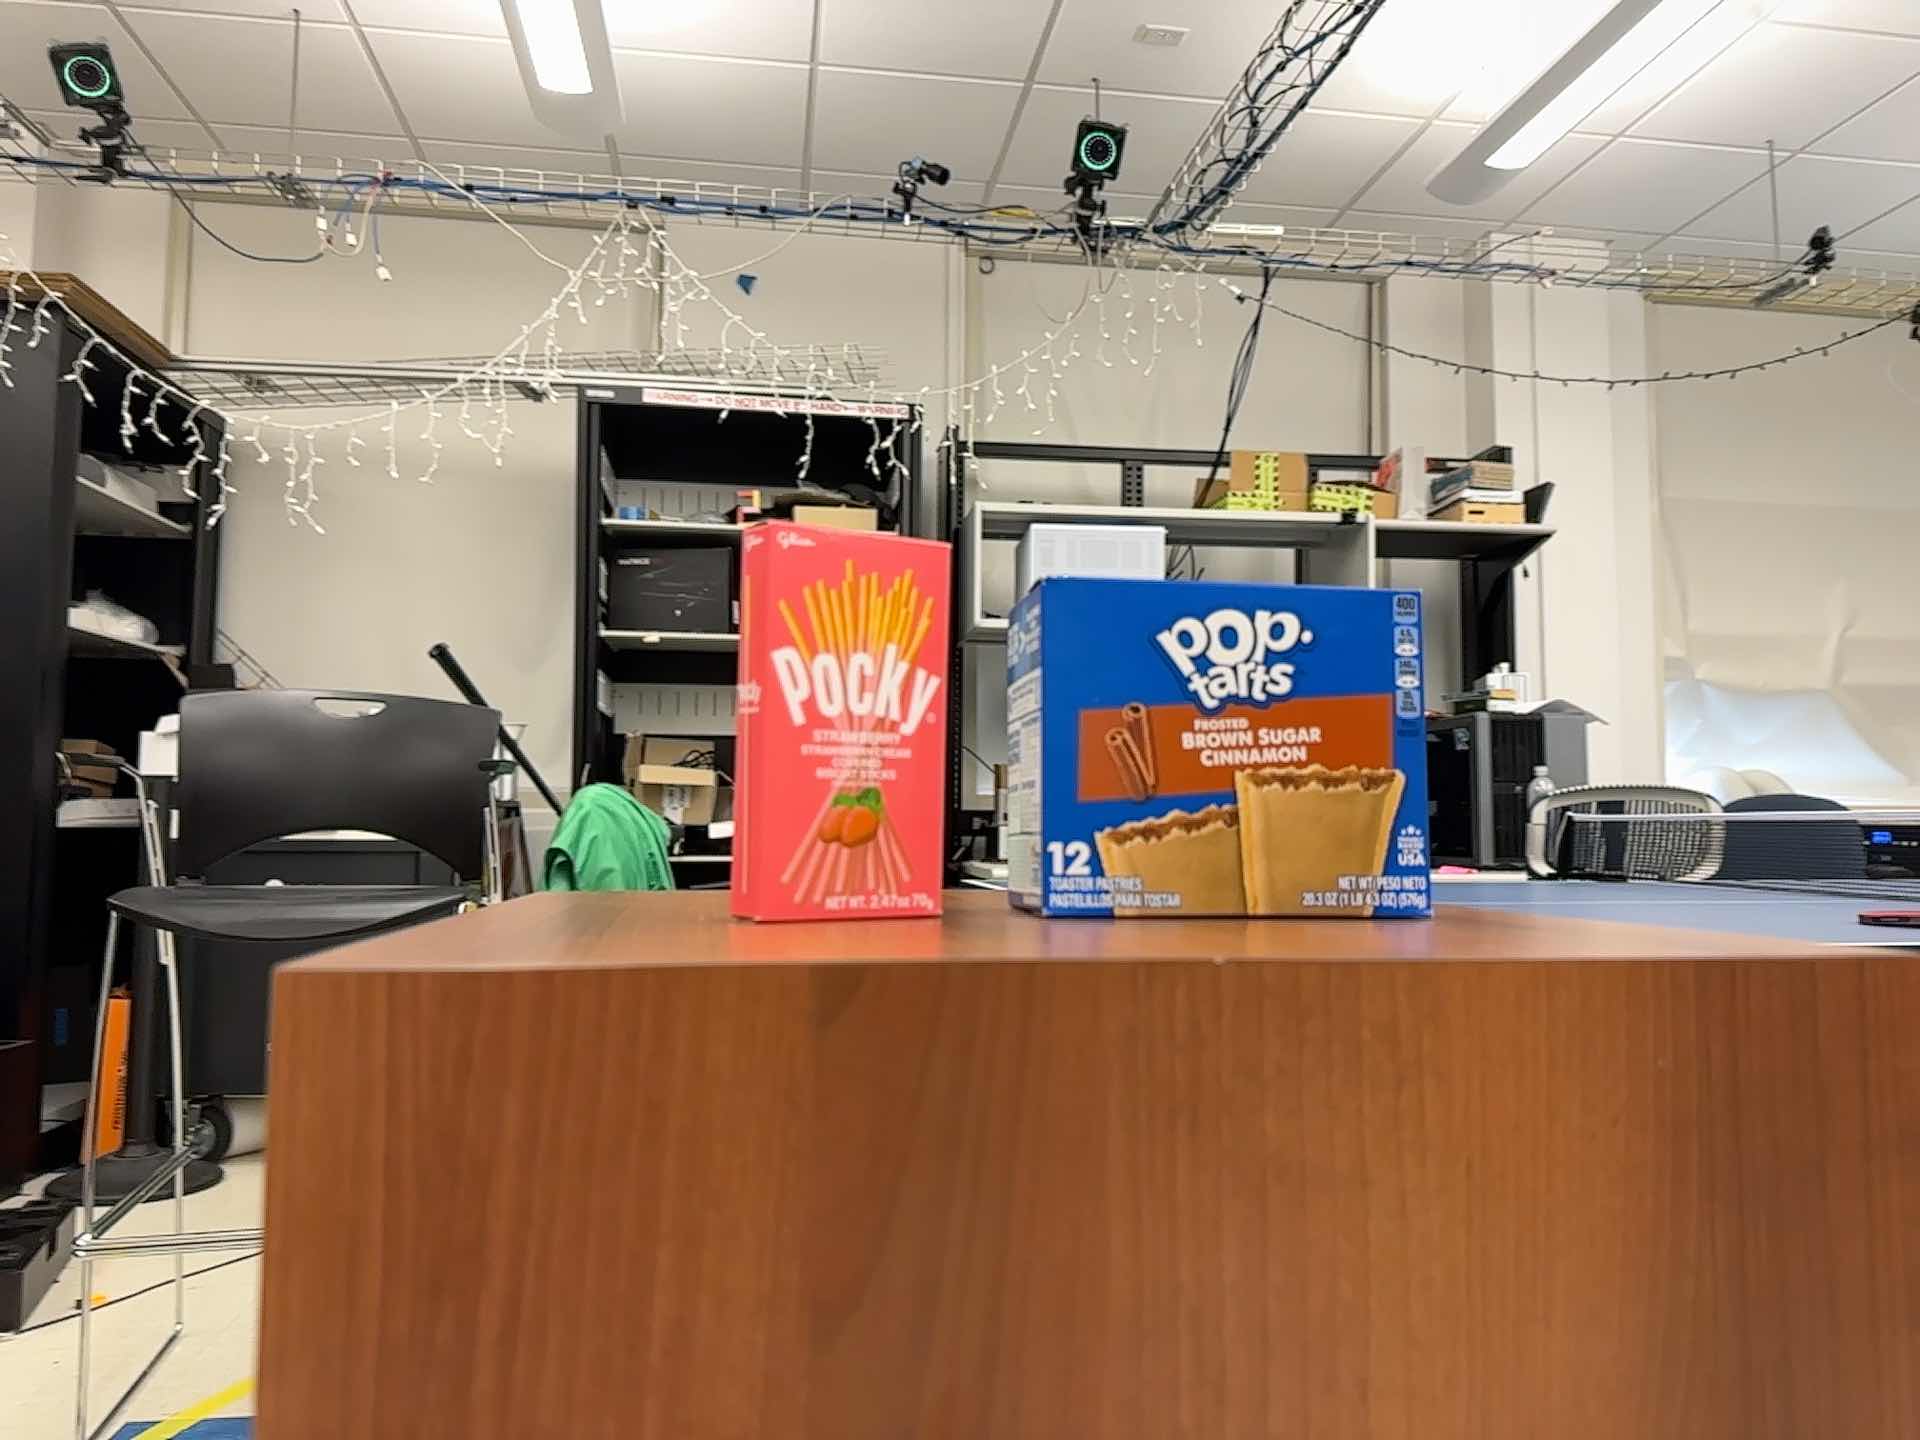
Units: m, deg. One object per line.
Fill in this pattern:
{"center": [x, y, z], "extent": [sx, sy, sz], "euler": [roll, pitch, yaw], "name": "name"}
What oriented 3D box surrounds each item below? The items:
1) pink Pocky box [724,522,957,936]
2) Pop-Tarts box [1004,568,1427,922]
{"center": [-0.045, 0.005, 0.526], "extent": [0.084, 0.155, 0.029], "euler": [4, -4, -30], "name": "pink Pocky box"}
{"center": [0.108, 0.015, 0.588], "extent": [0.161, 0.135, 0.075], "euler": [3, -7, -9], "name": "Pop-Tarts box"}
